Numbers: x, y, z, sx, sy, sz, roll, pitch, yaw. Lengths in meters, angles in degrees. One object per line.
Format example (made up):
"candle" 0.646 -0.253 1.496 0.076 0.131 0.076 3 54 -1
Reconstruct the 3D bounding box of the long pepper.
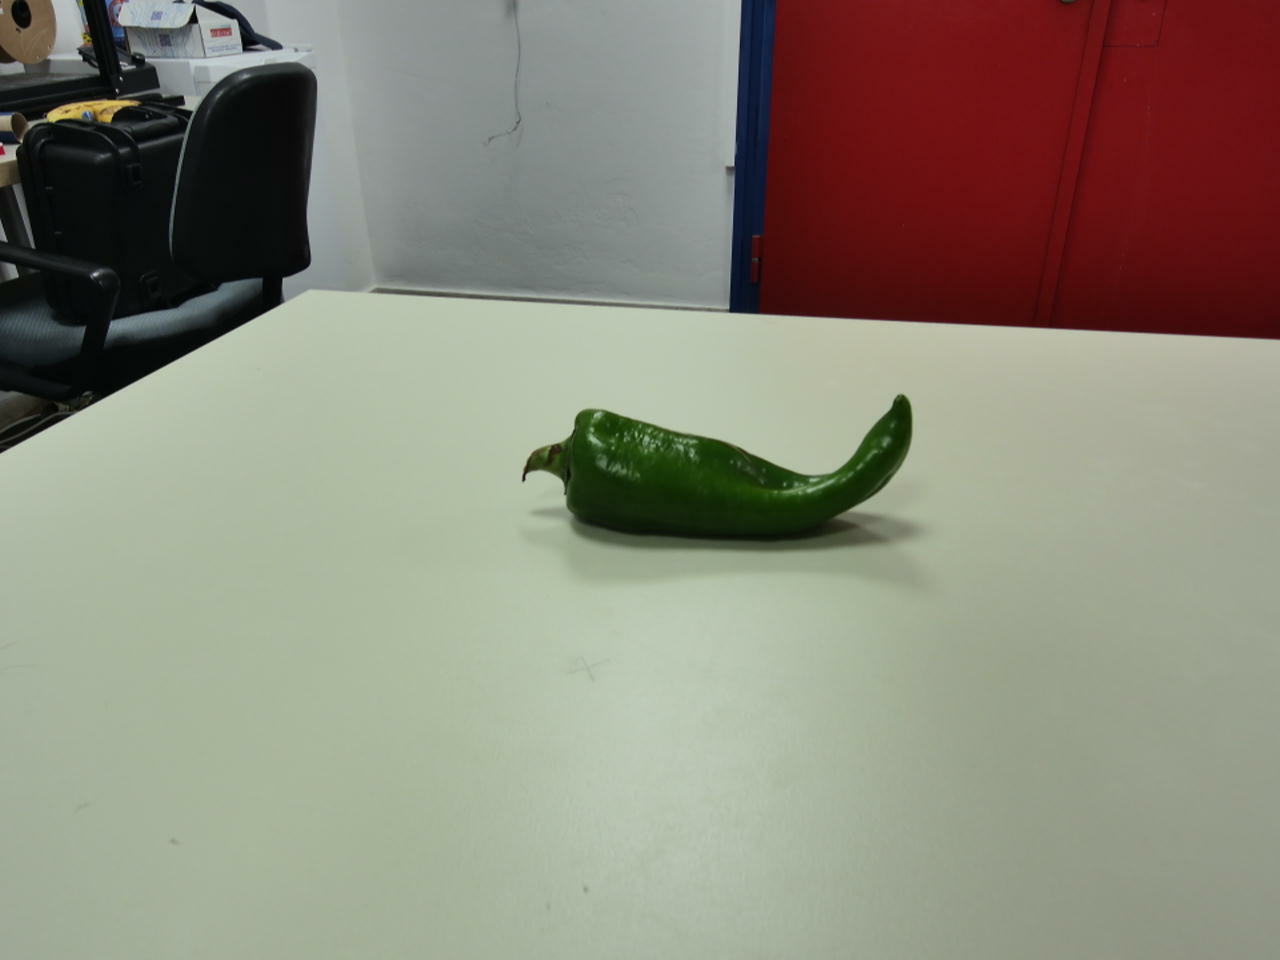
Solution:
"long pepper" 0.031 -0.009 0.447 0.175 0.065 0.058 4 24 10
